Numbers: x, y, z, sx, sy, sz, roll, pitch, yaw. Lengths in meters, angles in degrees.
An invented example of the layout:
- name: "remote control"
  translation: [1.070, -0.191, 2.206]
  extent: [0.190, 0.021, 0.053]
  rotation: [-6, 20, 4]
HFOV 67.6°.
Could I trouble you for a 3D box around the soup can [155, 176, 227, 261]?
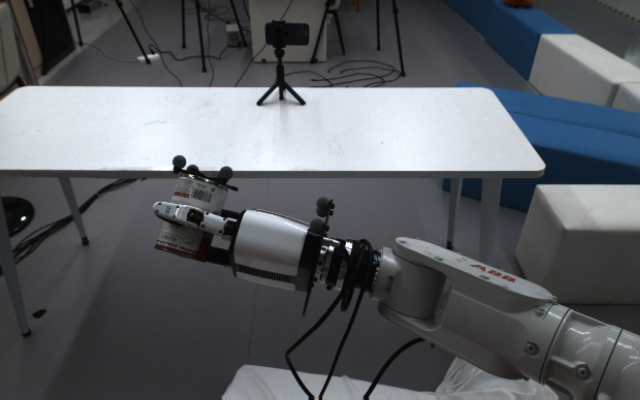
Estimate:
- name: "soup can"
  translation: [-0.166, 0.026, 0.634]
  extent: [0.067, 0.067, 0.101]
  rotation: [13, 79, 15]
